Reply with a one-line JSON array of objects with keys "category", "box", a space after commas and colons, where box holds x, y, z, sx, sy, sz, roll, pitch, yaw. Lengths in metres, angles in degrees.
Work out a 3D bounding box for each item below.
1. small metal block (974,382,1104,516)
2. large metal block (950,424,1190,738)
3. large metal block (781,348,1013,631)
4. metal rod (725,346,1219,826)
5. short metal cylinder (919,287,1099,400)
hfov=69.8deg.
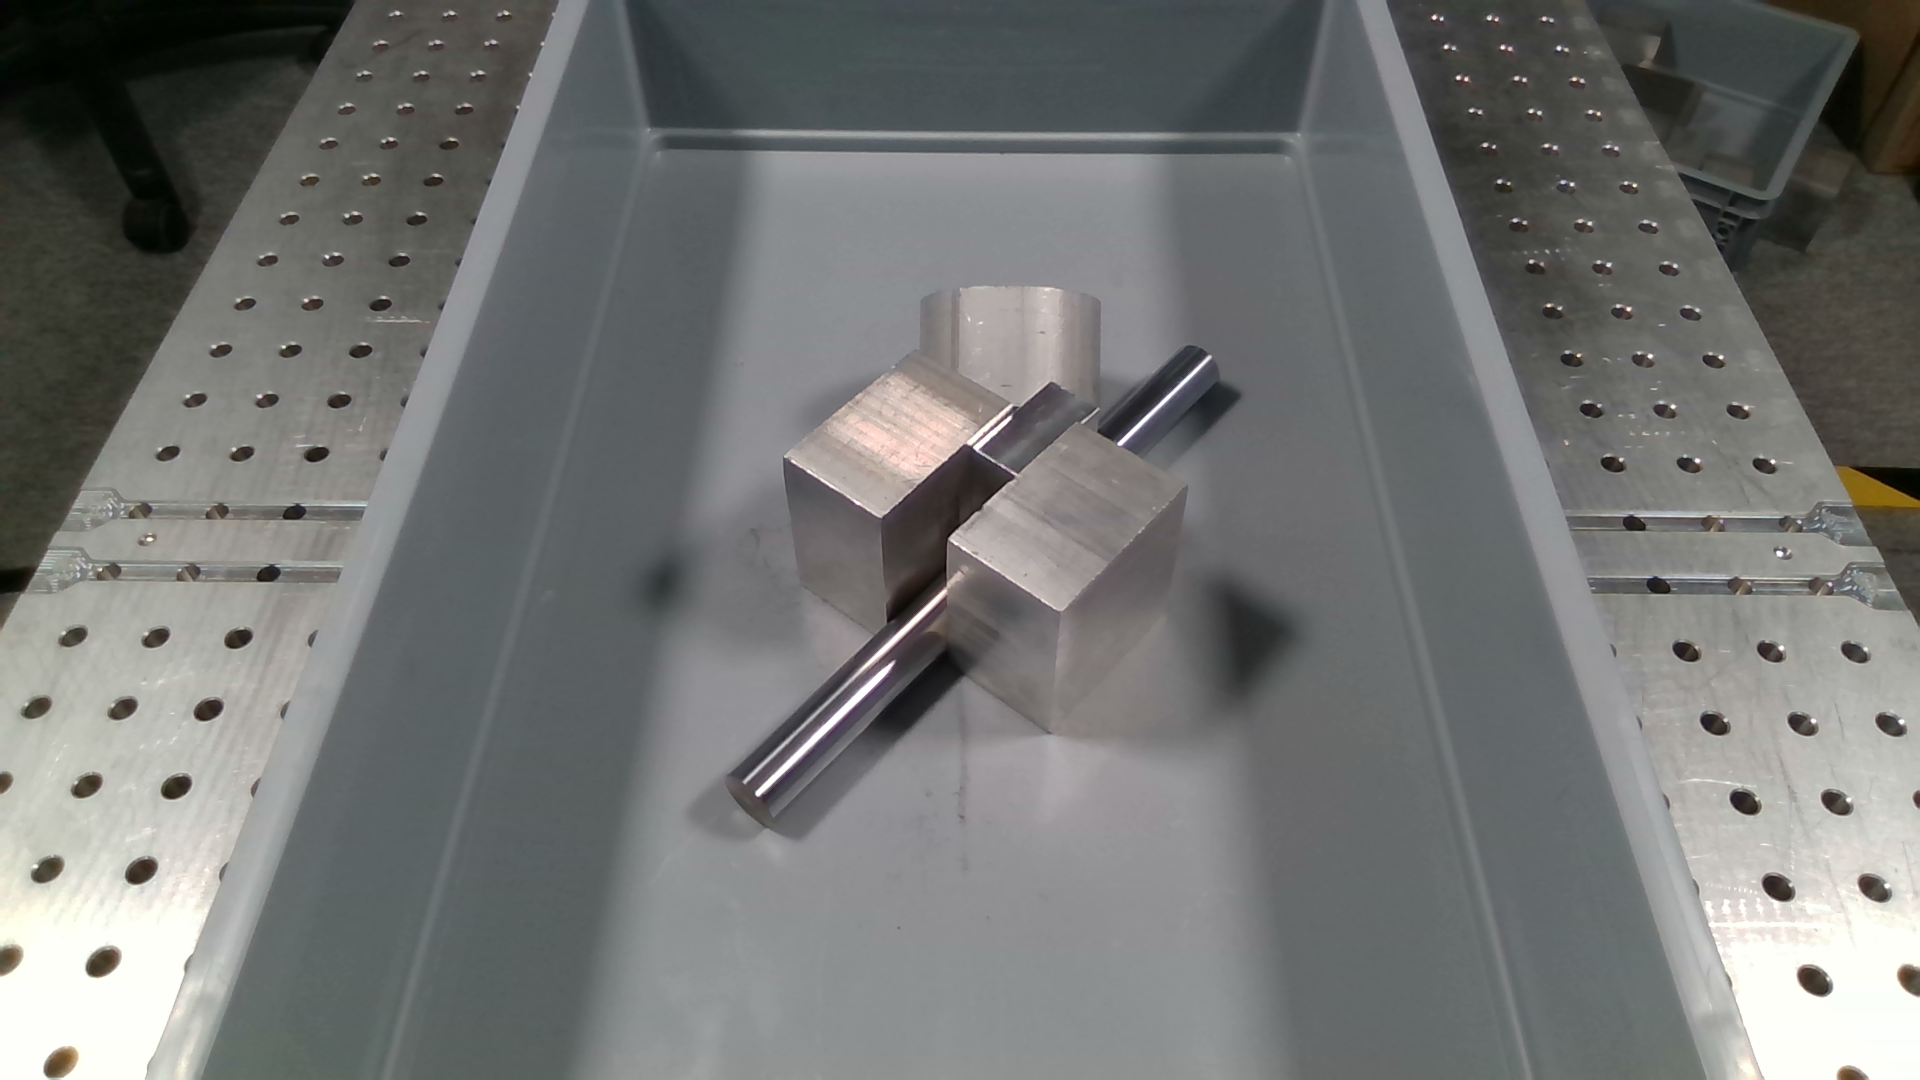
[{"category": "small metal block", "box": [0.032, -0.028, 0.563, 0.025, 0.050, 0.050, 34, 58, 25]}, {"category": "large metal block", "box": [0.042, 0.016, 0.538, 0.050, 0.080, 0.080, 33, 57, 25]}, {"category": "large metal block", "box": [-0.024, -0.017, 0.565, 0.050, 0.080, 0.080, 32, 57, 24]}, {"category": "metal rod", "box": [0.018, 0.007, 0.581, 0.025, 0.025, 0.299, 32, 57, 24]}, {"category": "short metal cylinder", "box": [0.022, -0.079, 0.608, 0.080, 0.080, 0.050, 0, 89, 0]}]
